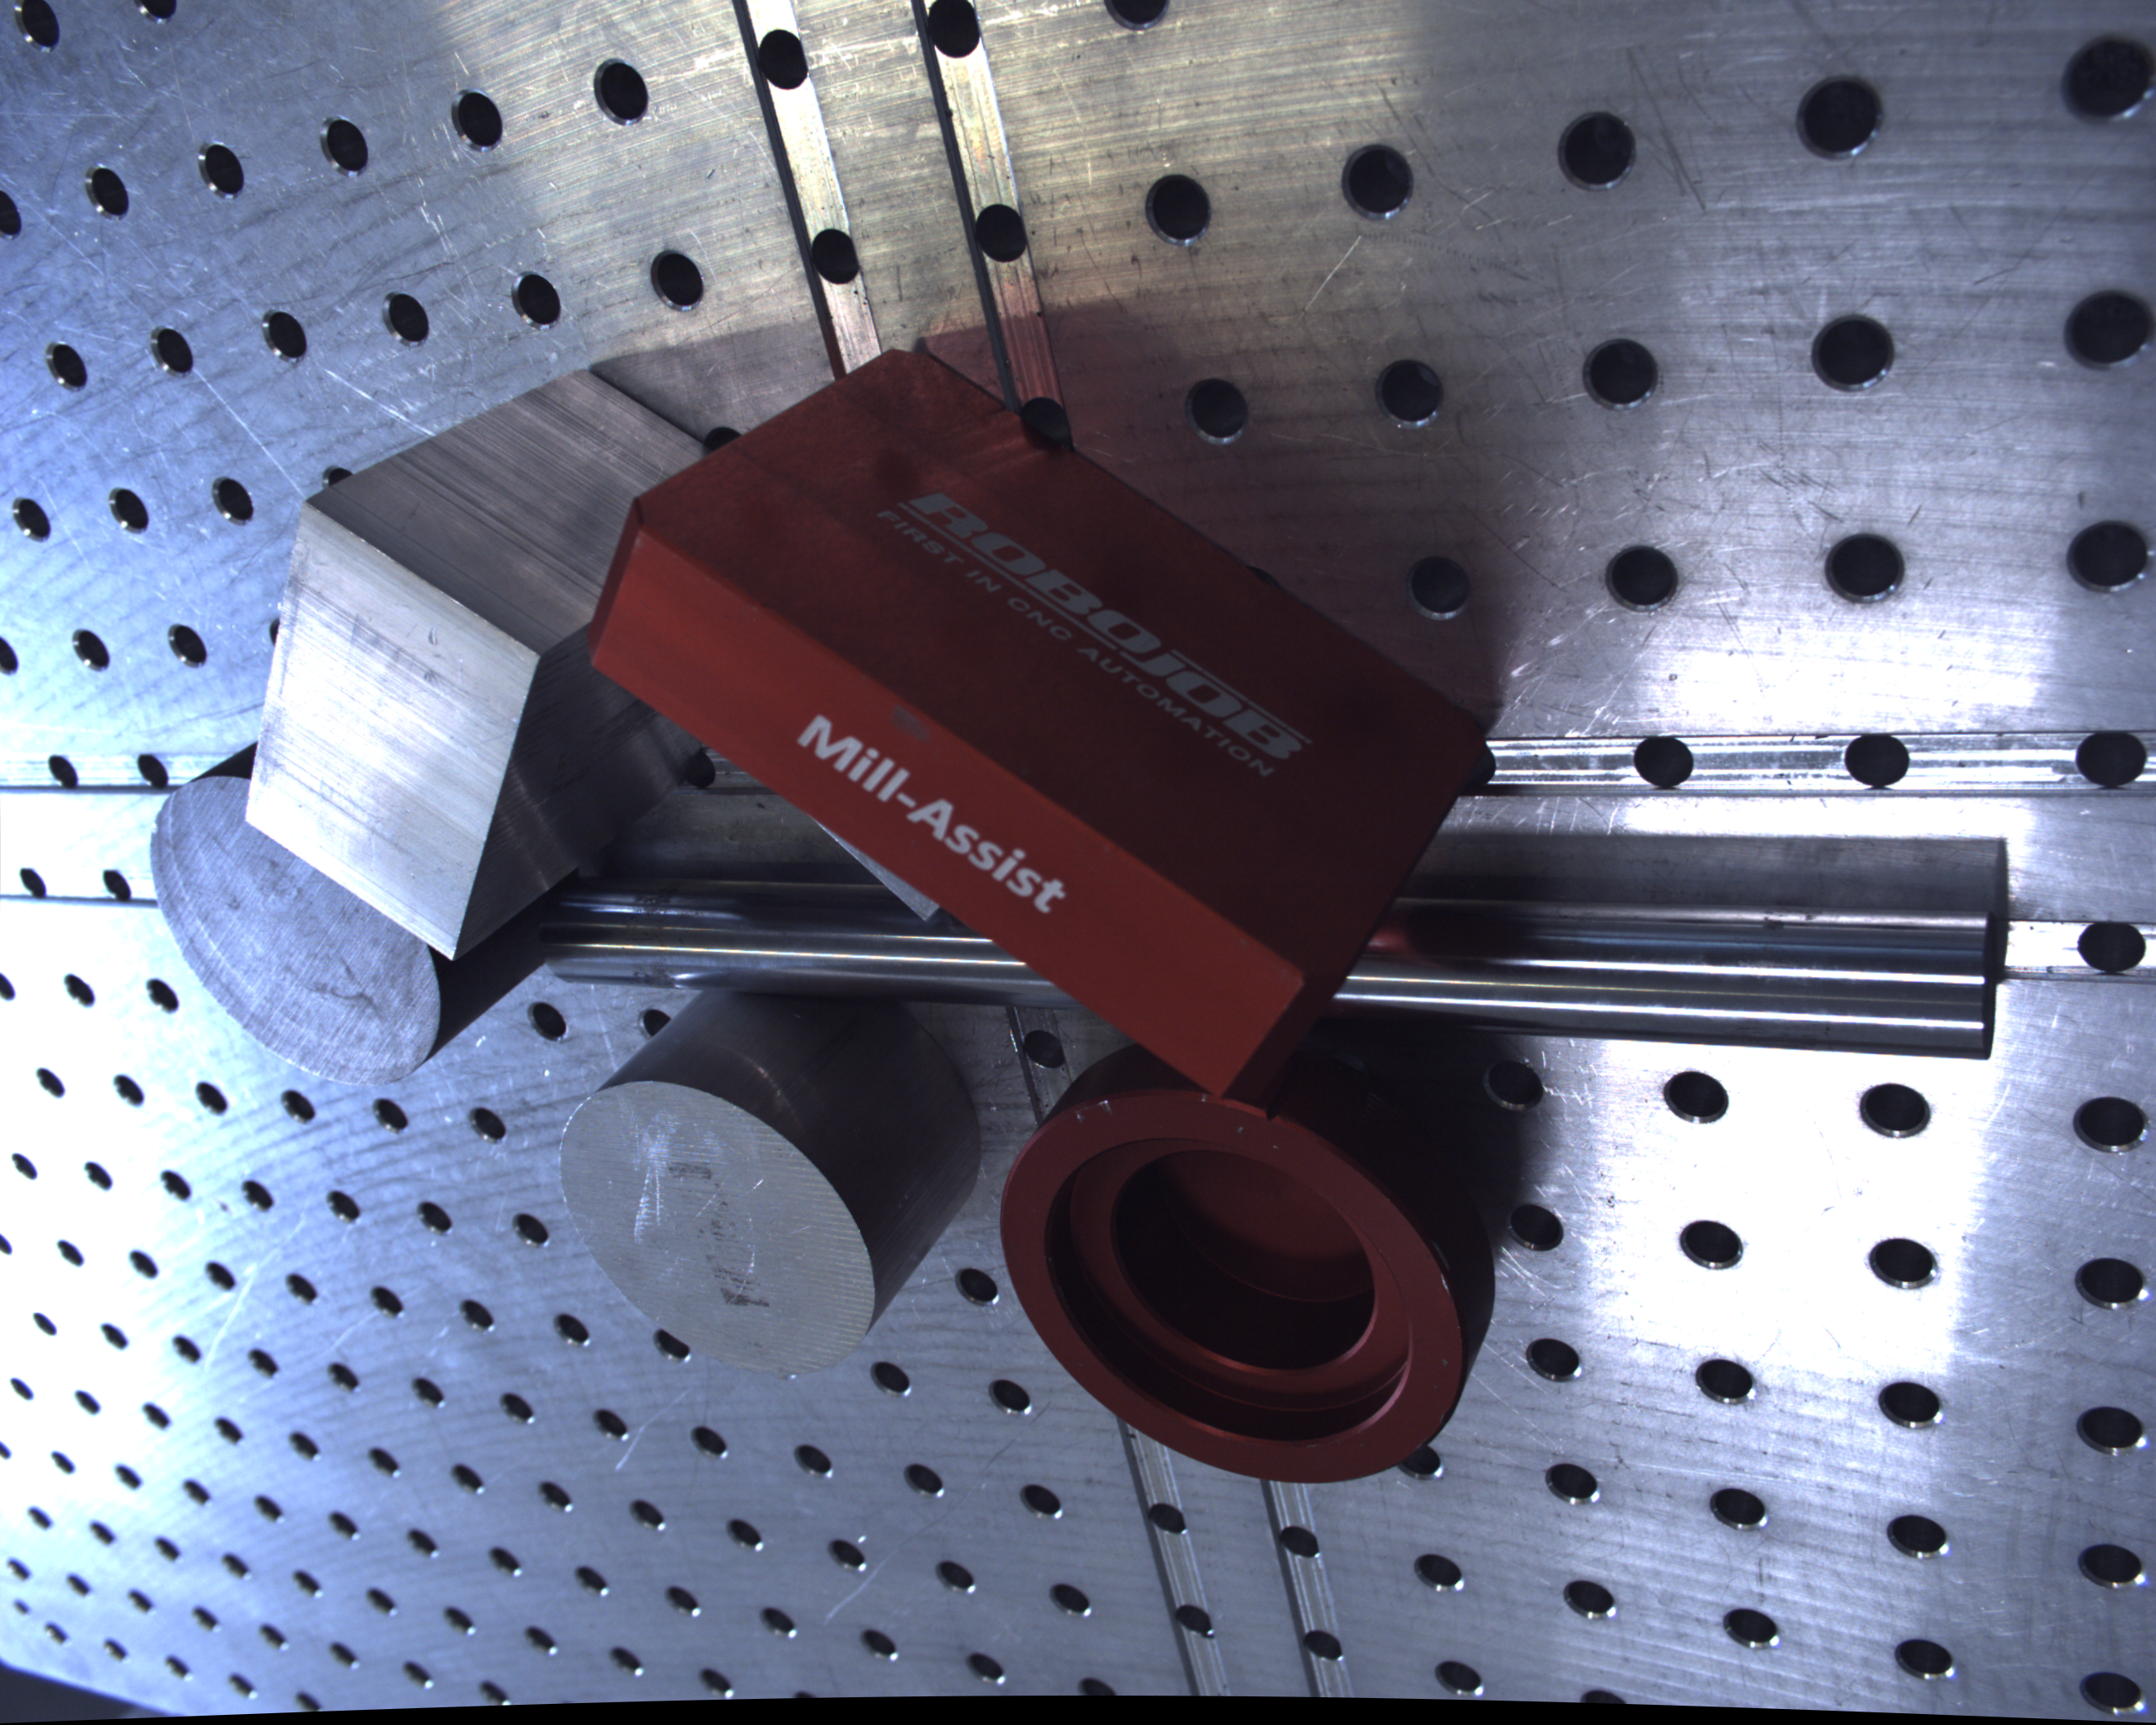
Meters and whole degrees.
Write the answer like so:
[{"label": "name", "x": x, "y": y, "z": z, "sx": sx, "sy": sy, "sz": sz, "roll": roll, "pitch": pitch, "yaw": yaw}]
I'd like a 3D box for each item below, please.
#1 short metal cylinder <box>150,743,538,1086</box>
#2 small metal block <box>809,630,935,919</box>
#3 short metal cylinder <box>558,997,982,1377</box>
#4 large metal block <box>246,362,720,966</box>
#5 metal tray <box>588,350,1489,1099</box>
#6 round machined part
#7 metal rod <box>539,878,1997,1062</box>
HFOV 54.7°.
[{"label": "short metal cylinder", "x": -0.164, "y": 0.005, "z": 0.484, "sx": 0.080, "sy": 0.050, "sz": 0.079, "roll": 13, "pitch": 124, "yaw": 21}, {"label": "small metal block", "x": -0.030, "y": -0.025, "z": 0.412, "sx": 0.050, "sy": 0.025, "sz": 0.050, "roll": 43, "pitch": 129, "yaw": -2}, {"label": "short metal cylinder", "x": -0.069, "y": 0.069, "z": 0.474, "sx": 0.080, "sy": 0.050, "sz": 0.079, "roll": 13, "pitch": 124, "yaw": 21}, {"label": "large metal block", "x": -0.109, "y": -0.040, "z": 0.409, "sx": 0.050, "sy": 0.080, "sz": 0.079, "roll": 33, "pitch": 129, "yaw": 6}, {"label": "metal tray", "x": -0.003, "y": -0.028, "z": 0.353, "sx": 0.130, "sy": 0.090, "sz": 0.030, "roll": 35, "pitch": 129, "yaw": 5}, {"label": "round machined part", "x": 0.037, "y": 0.075, "z": 0.427, "sx": 0.098, "sy": 0.042, "sz": 0.097, "roll": 13, "pitch": 124, "yaw": 21}, {"label": "metal rod", "x": 0.017, "y": 0.018, "z": 0.413, "sx": 0.300, "sy": 0.025, "sz": 0.025, "roll": 1, "pitch": 119, "yaw": 27}]
